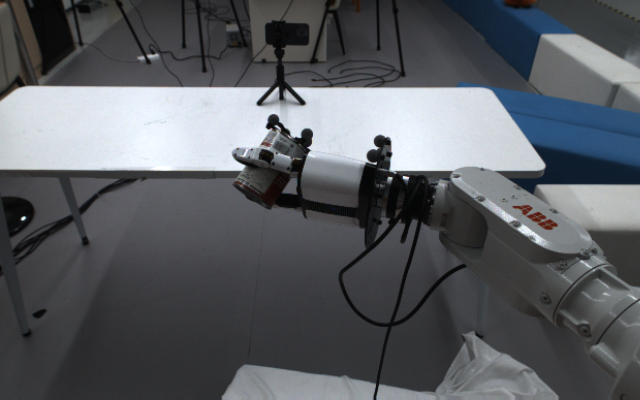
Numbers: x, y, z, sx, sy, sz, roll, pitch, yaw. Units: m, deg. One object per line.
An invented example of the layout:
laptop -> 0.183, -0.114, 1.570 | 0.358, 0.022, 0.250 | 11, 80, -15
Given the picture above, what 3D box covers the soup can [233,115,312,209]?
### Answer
soup can -> -0.073, -0.044, 0.719 | 0.067, 0.067, 0.101 | 27, 79, 31
